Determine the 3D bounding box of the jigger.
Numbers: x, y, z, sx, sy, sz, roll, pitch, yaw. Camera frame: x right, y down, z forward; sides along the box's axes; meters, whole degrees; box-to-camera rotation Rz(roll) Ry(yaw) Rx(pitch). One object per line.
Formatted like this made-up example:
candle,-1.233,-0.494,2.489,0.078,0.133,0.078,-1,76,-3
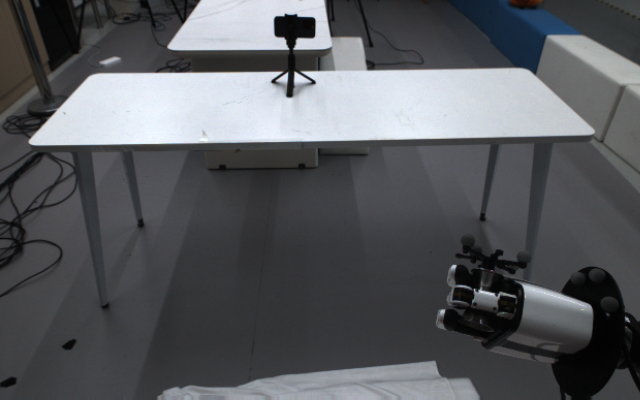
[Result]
jigger,0.203,0.122,0.603,0.043,0.043,0.071,13,72,15
